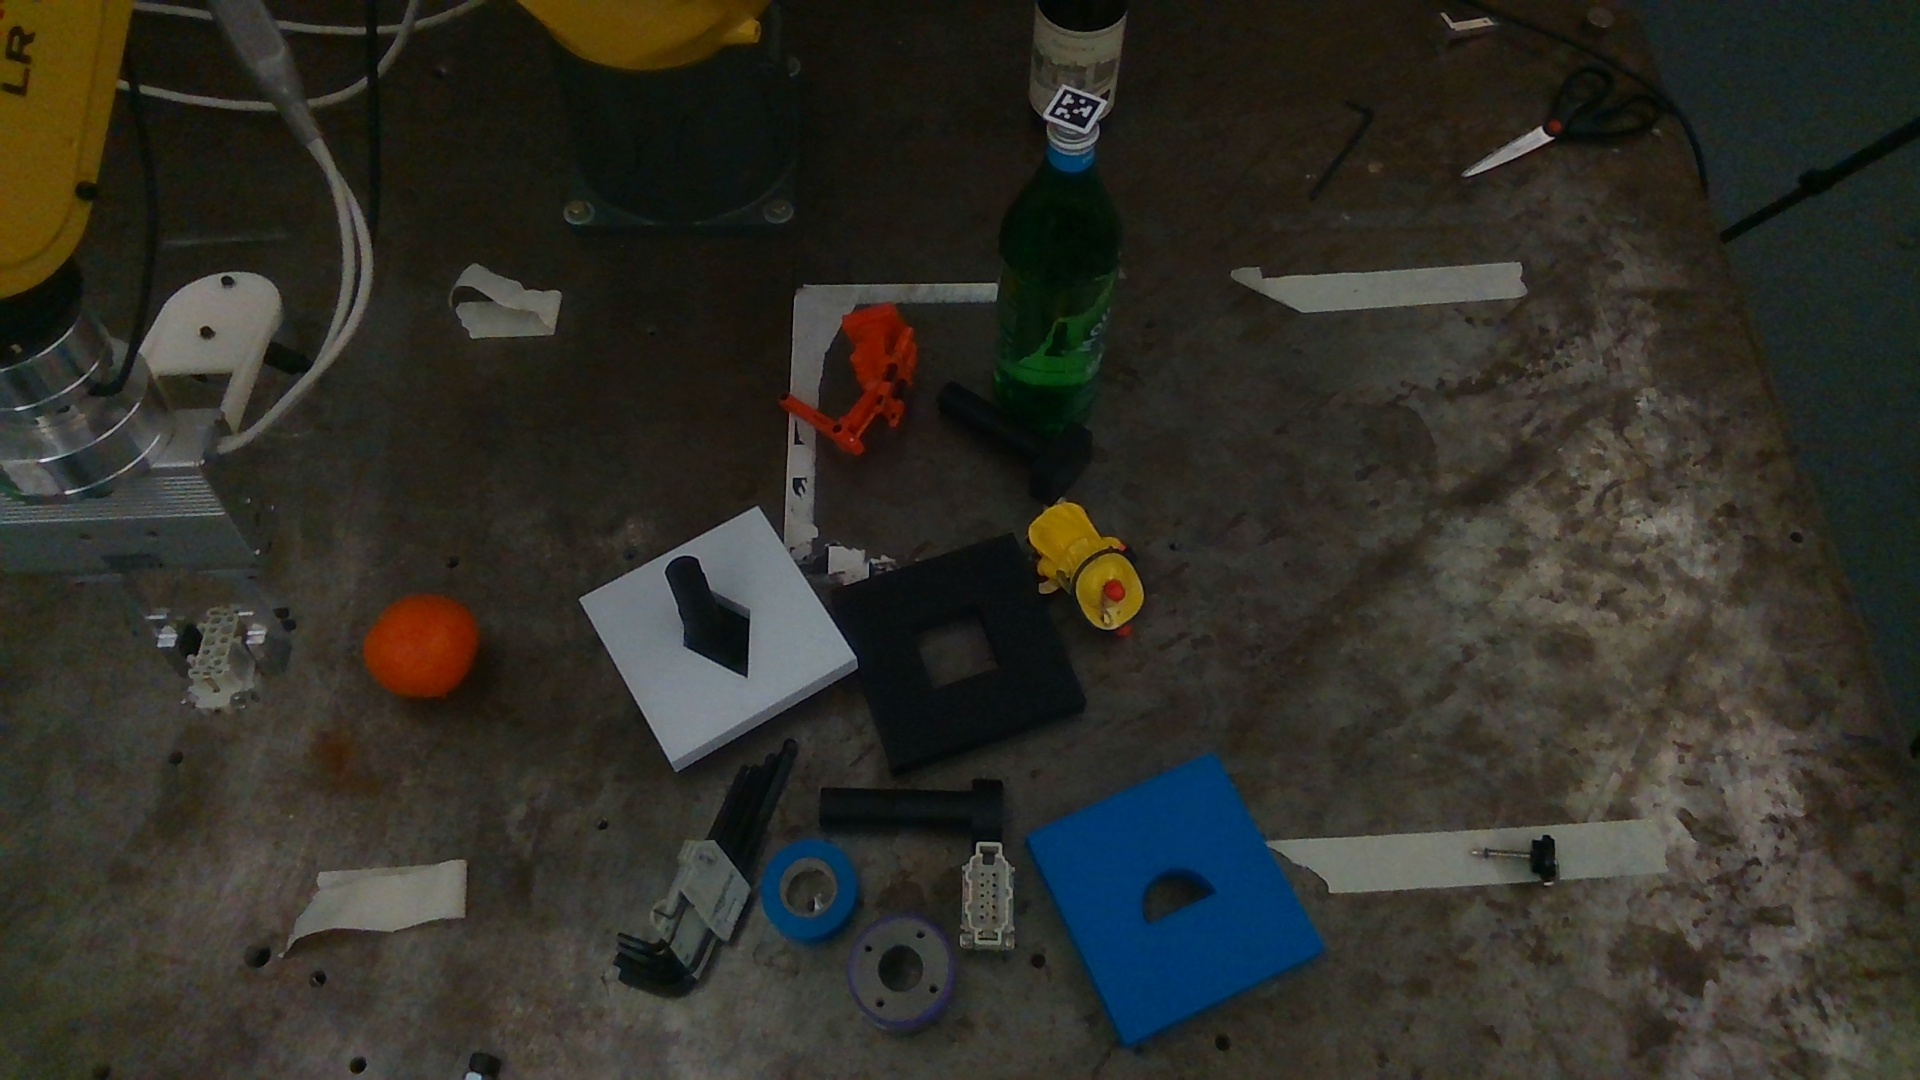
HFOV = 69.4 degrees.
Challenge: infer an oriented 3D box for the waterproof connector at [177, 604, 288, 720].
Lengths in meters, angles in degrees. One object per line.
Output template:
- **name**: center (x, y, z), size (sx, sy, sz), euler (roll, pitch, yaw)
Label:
- **waterproof connector**: center (-0.391, 0.064, 0.744), size (0.037, 0.038, 0.069), euler (-7, 49, 3)
